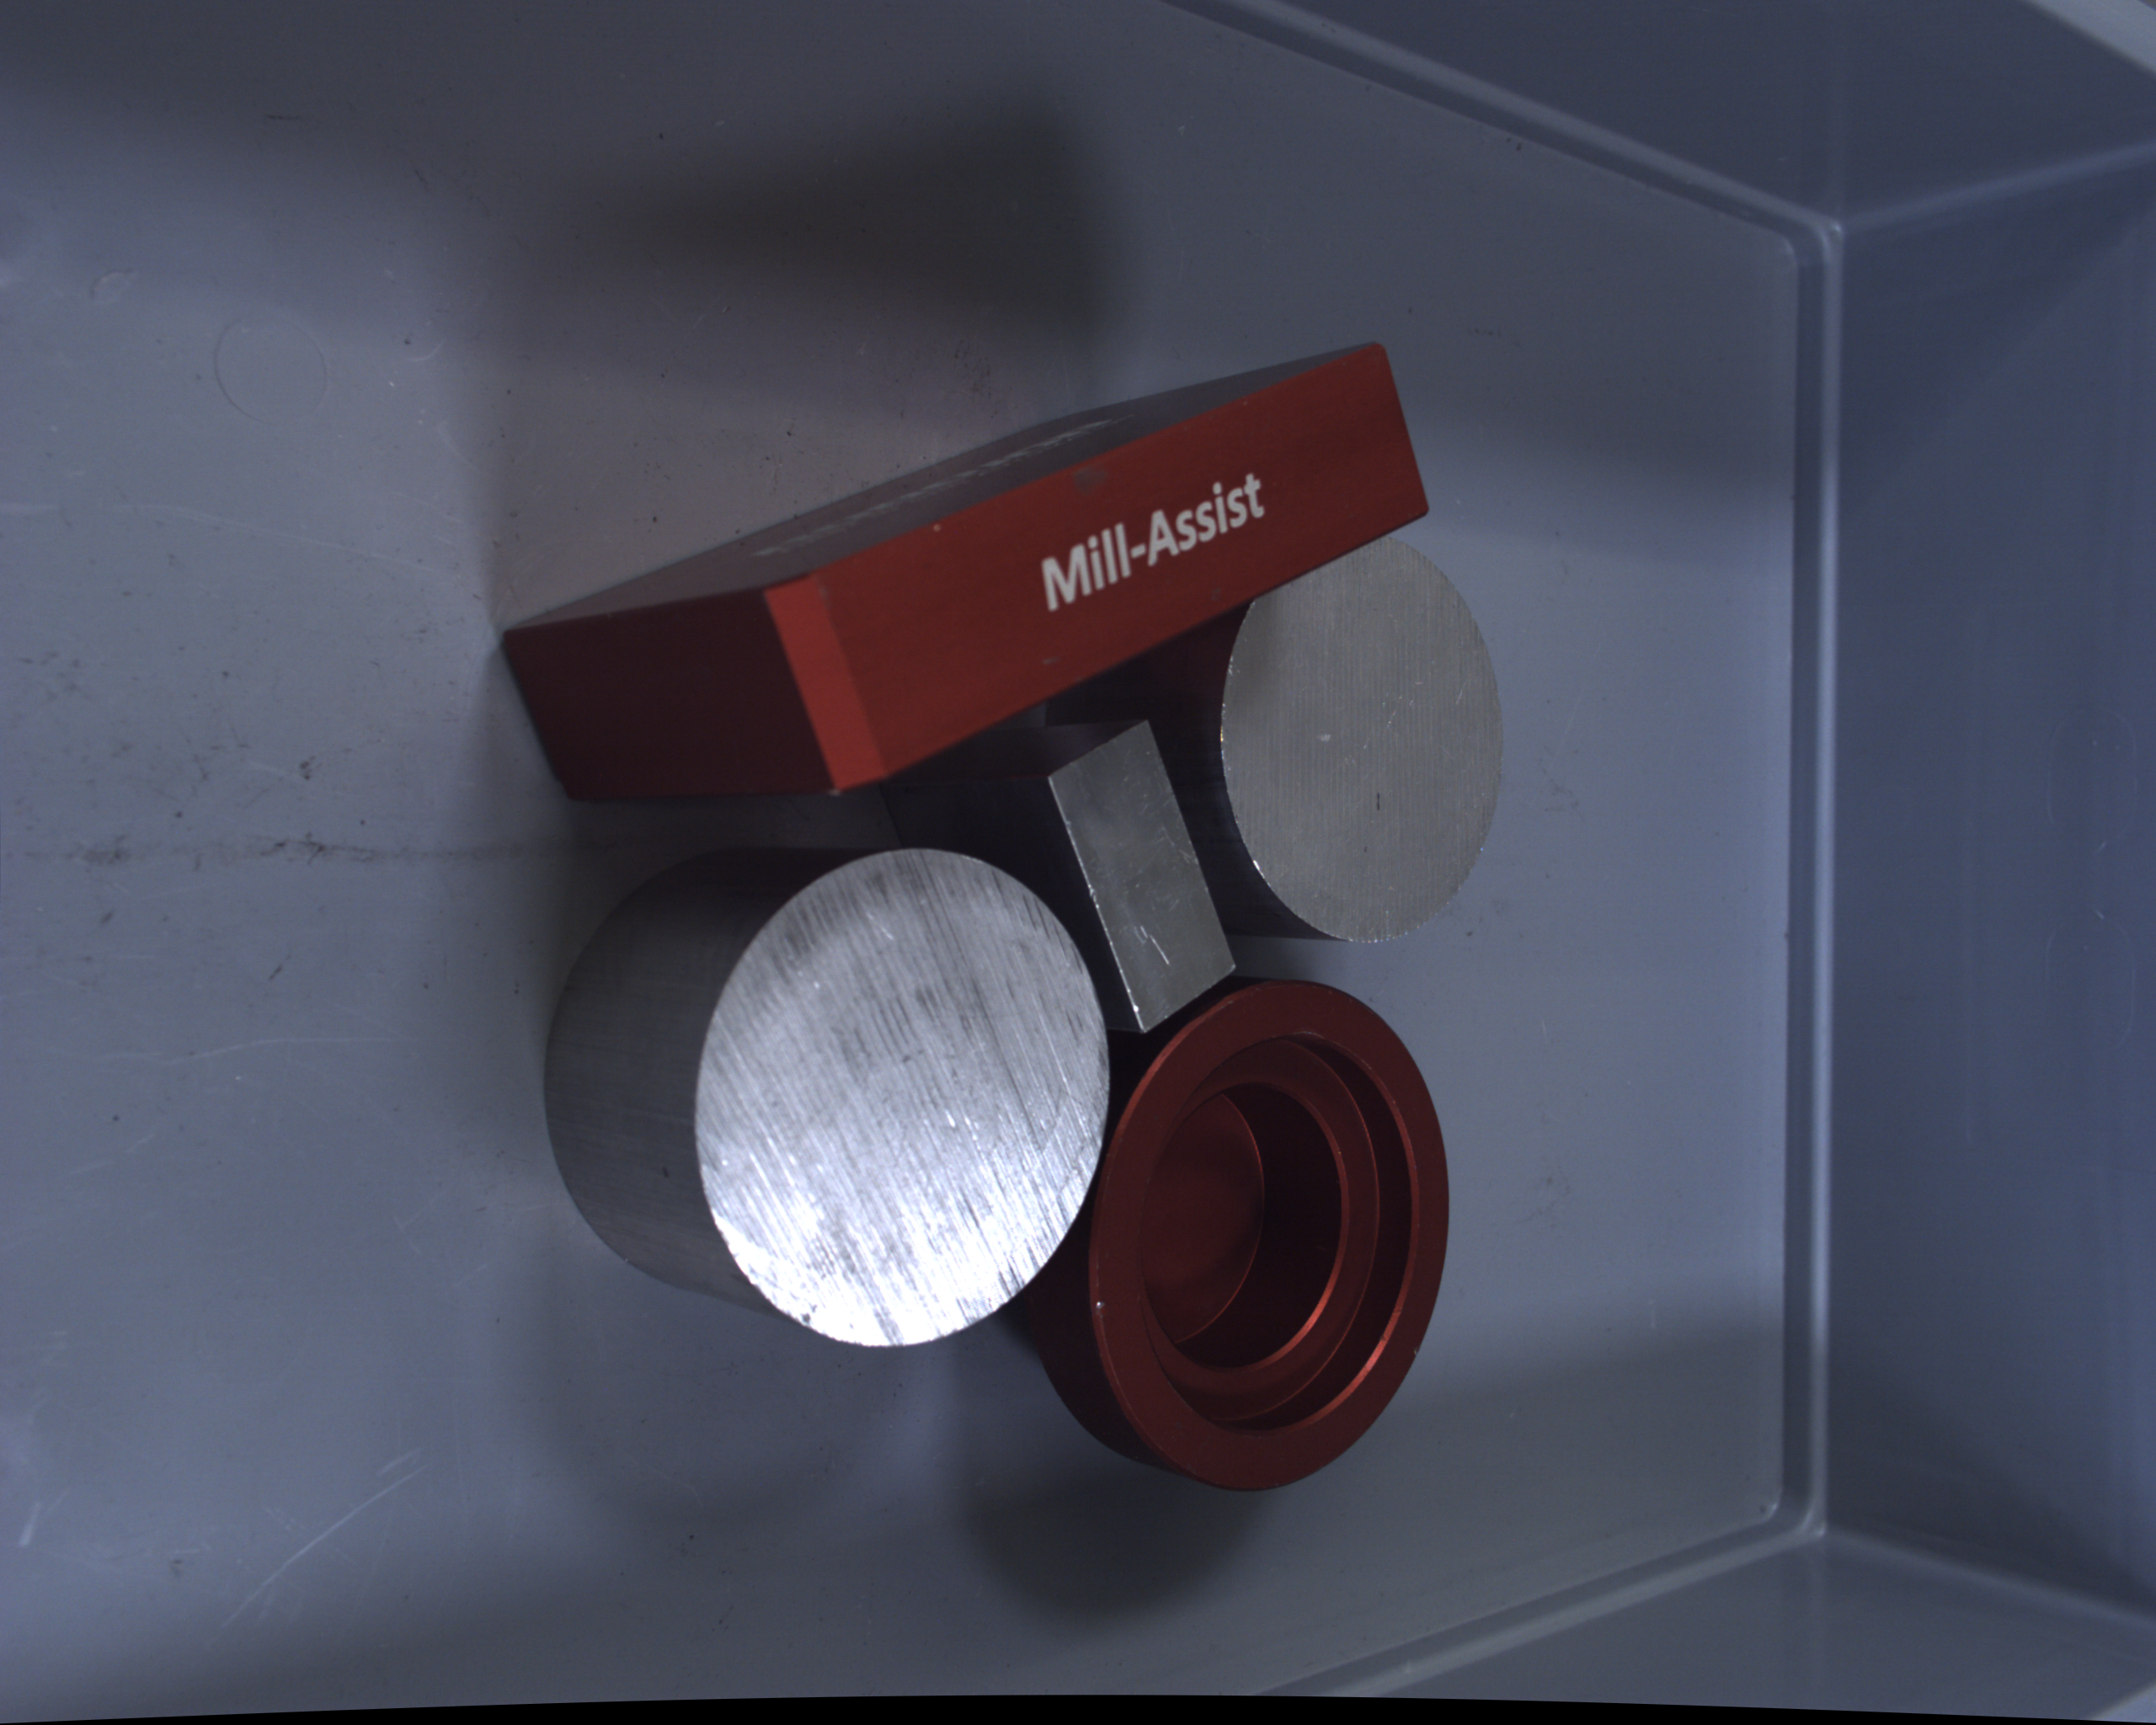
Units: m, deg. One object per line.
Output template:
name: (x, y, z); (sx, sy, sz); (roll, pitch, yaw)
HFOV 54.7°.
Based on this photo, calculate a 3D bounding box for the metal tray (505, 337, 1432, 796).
metal tray: (-0.016, -0.050, 0.347); (0.131, 0.090, 0.030); (-29, 109, -36)

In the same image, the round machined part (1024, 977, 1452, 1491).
round machined part: (0.027, 0.071, 0.416); (0.099, 0.042, 0.097); (0, 90, -40)

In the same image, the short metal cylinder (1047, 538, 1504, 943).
short metal cylinder: (0.041, -0.024, 0.422); (0.081, 0.050, 0.079); (0, 90, -40)

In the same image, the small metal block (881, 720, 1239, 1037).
small metal block: (-0.004, 0.003, 0.384); (0.025, 0.050, 0.050); (-32, 110, -36)

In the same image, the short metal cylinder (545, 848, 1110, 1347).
short metal cylinder: (-0.042, 0.037, 0.353); (0.081, 0.050, 0.079); (0, 90, -40)
